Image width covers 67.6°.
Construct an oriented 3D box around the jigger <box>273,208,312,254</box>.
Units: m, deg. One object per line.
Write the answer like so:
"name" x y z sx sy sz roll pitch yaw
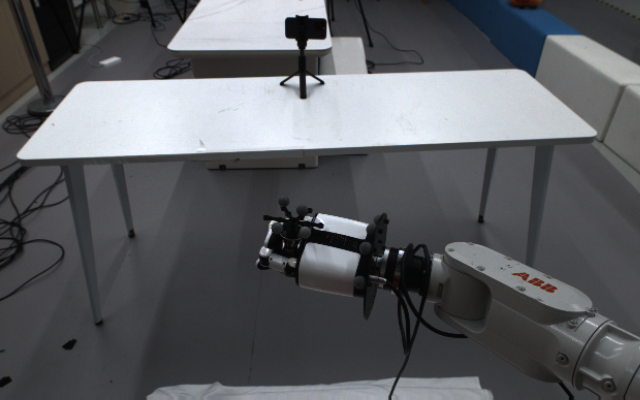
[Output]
"jigger" -0.043 0.075 0.736 0.043 0.071 0.043 7 32 -4
